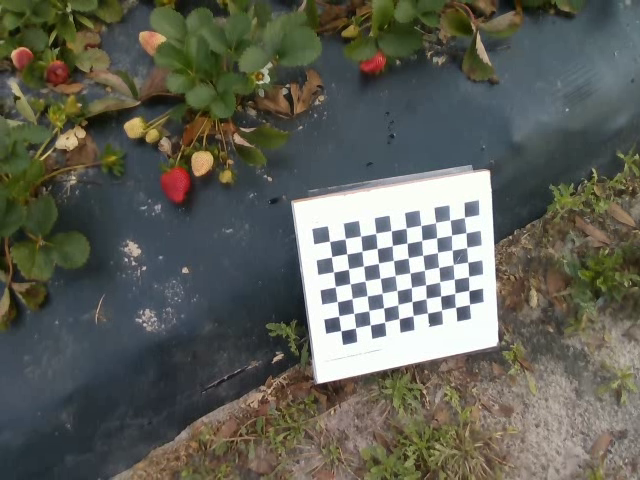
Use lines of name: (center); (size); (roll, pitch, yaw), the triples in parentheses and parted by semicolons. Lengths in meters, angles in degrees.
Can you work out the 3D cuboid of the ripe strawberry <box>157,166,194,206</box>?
ripe strawberry: (-0.197, -0.074, 0.822); (0.050, 0.059, 0.034); (-21, -33, -4)
